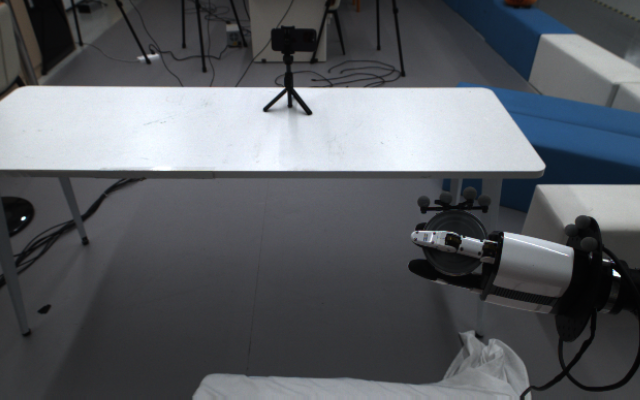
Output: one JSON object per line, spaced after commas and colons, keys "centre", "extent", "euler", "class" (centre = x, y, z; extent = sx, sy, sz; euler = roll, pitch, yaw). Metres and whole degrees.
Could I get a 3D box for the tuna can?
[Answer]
{"centre": [0.179, 0.055, 0.644], "extent": [0.085, 0.034, 0.085], "euler": [-5, 70, 15], "class": "tuna can"}
